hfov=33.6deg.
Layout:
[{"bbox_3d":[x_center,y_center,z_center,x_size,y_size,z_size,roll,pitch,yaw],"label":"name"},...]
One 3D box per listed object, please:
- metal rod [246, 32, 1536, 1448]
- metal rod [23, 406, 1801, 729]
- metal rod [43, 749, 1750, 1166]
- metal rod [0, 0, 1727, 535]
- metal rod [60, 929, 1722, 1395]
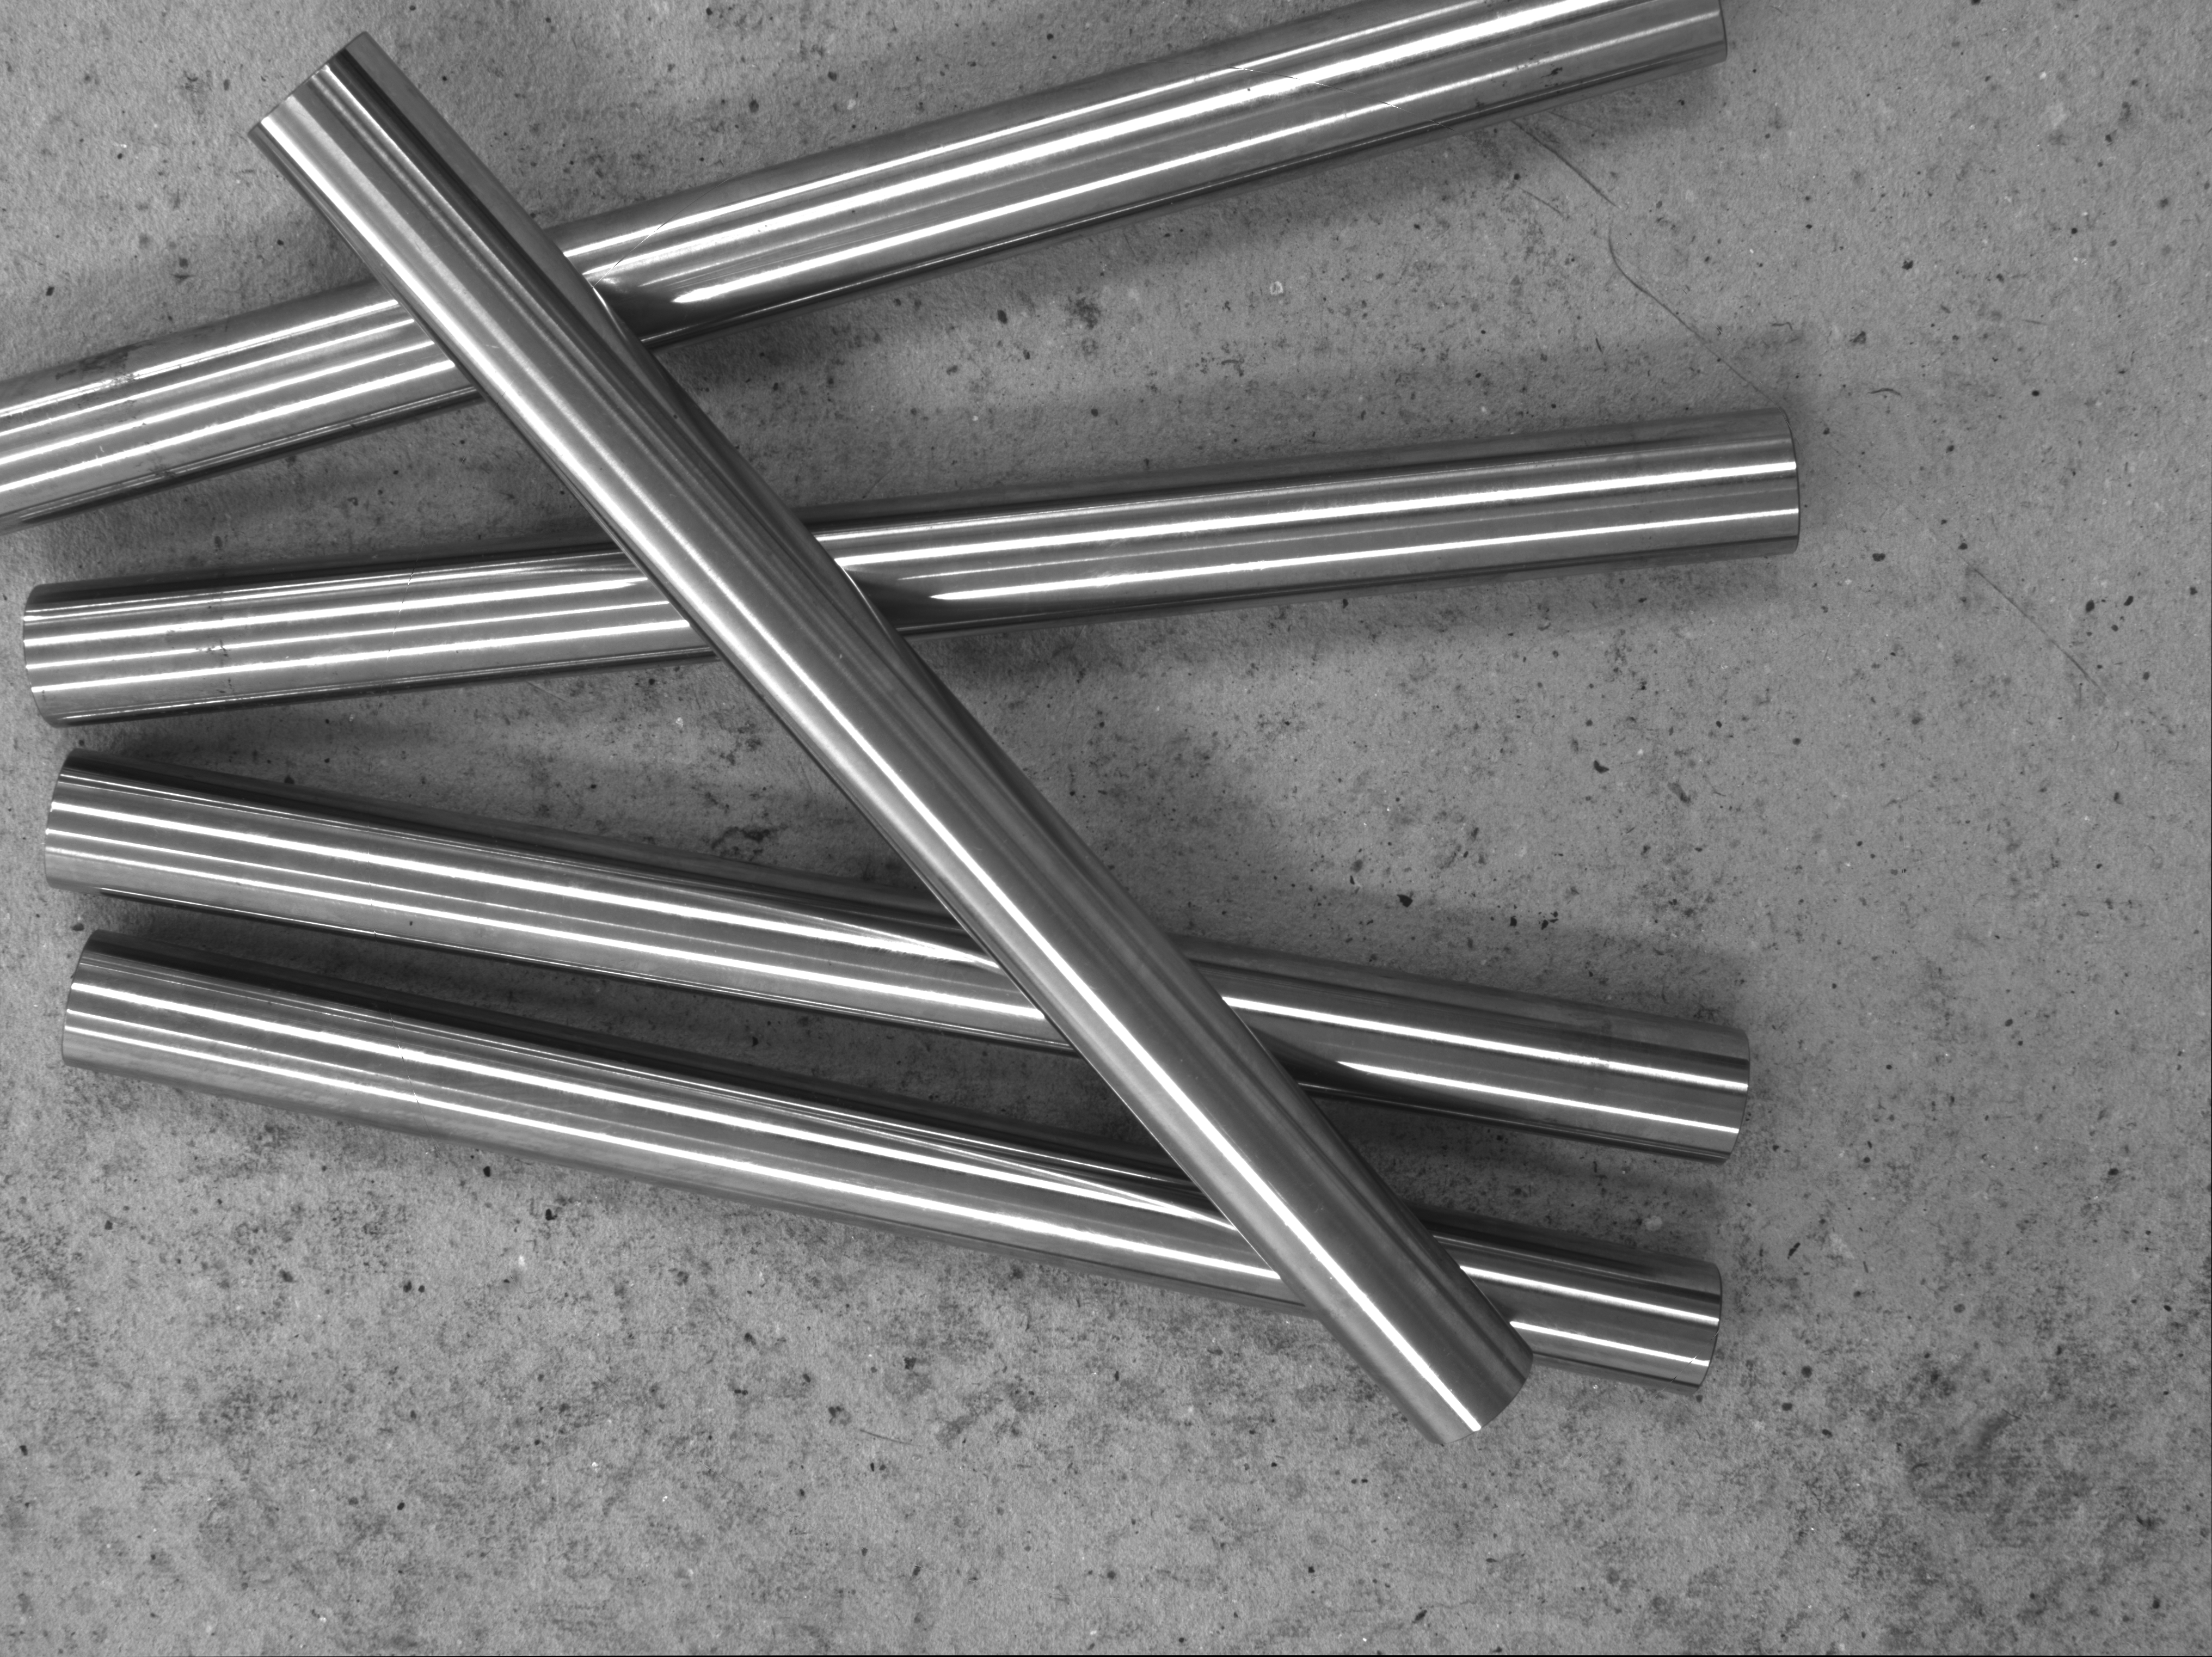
[{"bbox_3d":[-0.029,-0.008,0.614,0.025,0.025,0.300,-38,106,13],"label":"metal rod"},{"bbox_3d":[-0.033,-0.044,0.628,0.300,0.025,0.025,-6,110,2],"label":"metal rod"},{"bbox_3d":[-0.035,0.023,0.652,0.300,0.025,0.025,10,110,-4],"label":"metal rod"},{"bbox_3d":[-0.047,-0.099,0.608,0.300,0.025,0.025,-15,109,5],"label":"metal rod"},{"bbox_3d":[-0.036,0.061,0.666,0.300,0.025,0.025,12,110,-4],"label":"metal rod"}]
